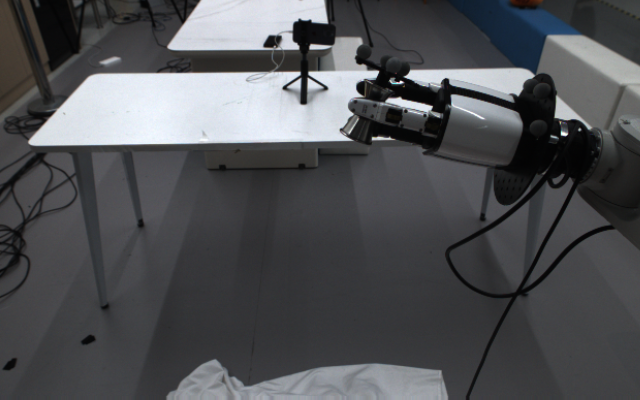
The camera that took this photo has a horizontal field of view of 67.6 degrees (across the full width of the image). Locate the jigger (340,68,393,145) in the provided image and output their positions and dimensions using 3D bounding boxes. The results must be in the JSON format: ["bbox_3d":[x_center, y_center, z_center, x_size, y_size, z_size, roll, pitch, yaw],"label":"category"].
[{"bbox_3d":[0.056,-0.105,0.581,0.043,0.071,0.043,23,19,-8],"label":"jigger"}]
